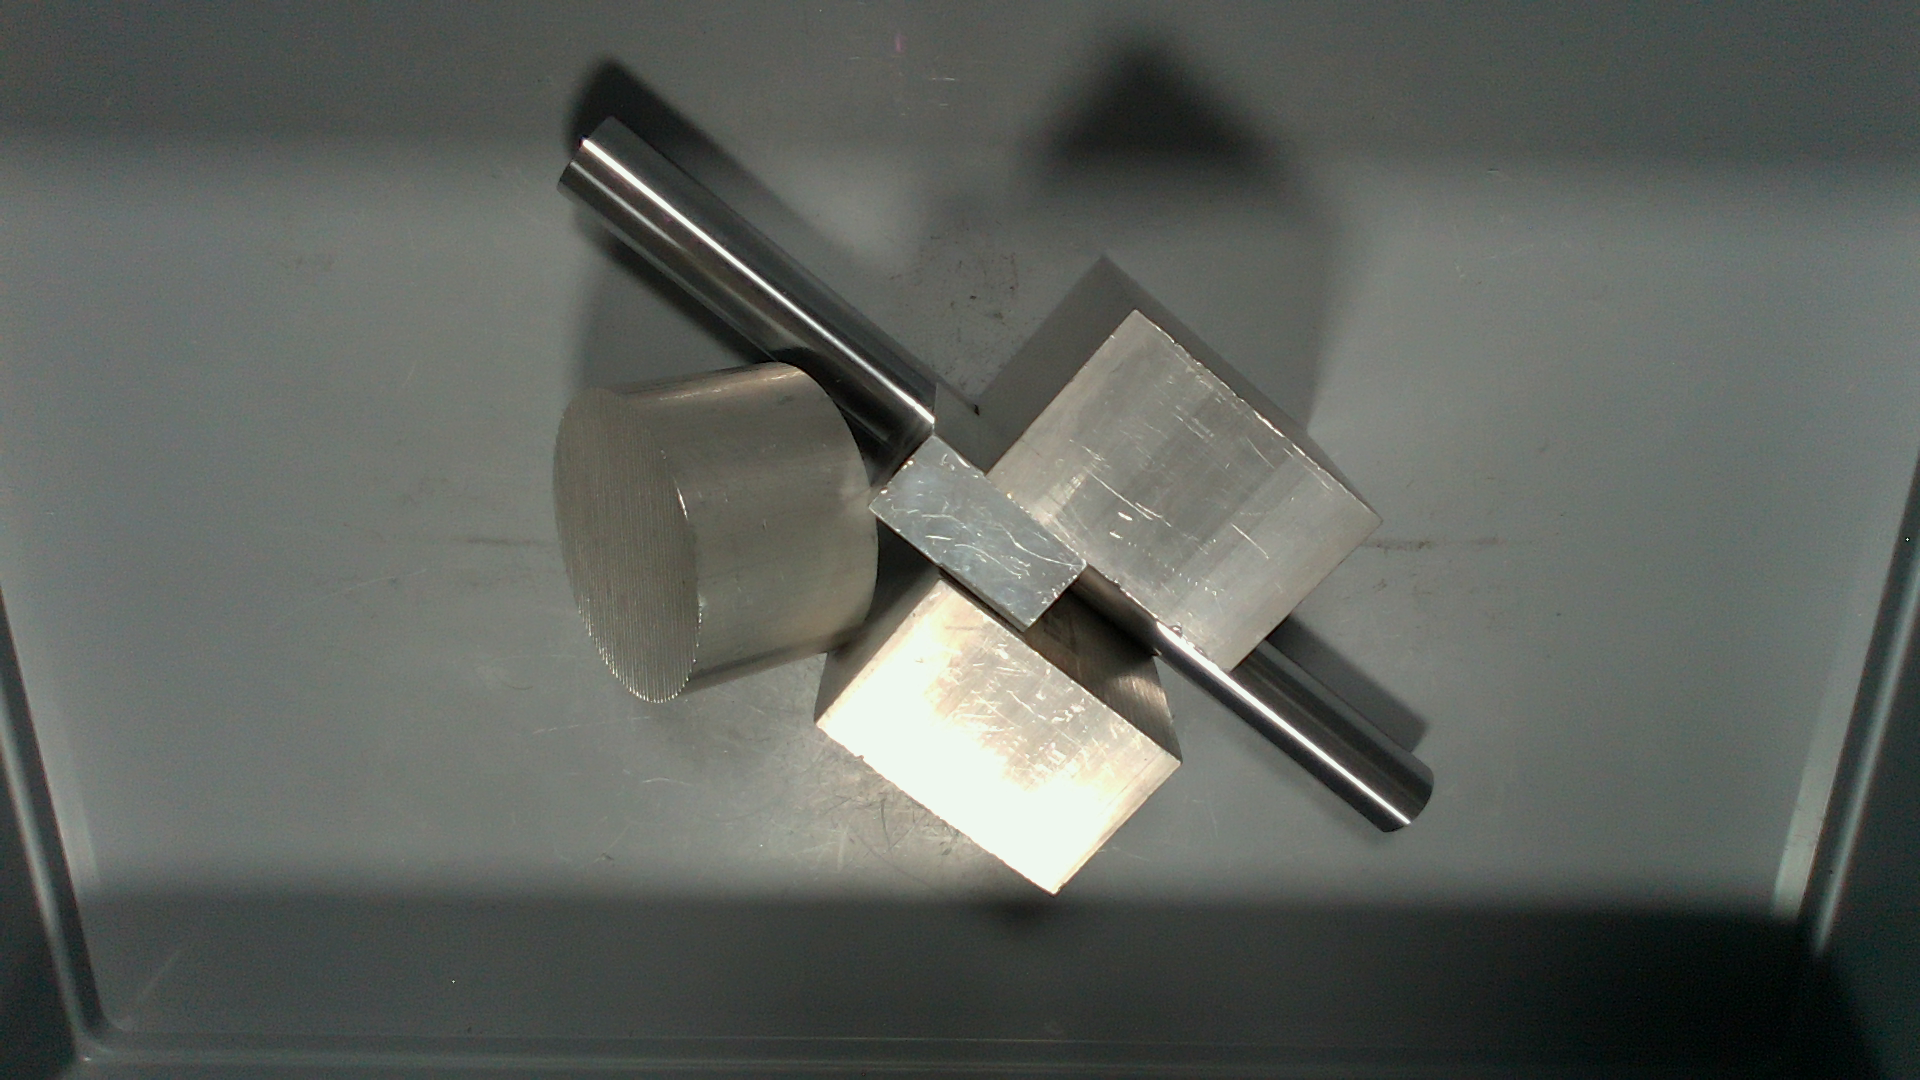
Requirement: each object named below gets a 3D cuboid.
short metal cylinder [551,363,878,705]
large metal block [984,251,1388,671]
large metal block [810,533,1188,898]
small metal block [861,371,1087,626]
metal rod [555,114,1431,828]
[{"bbox_3d":[-0.065,-0.003,0.356,0.050,0.080,0.080,-15,116,-37],"label":"short metal cylinder"},{"bbox_3d":[0.053,-0.024,0.356,0.080,0.080,0.050,38,106,-13],"label":"large metal block"},{"bbox_3d":[0.010,0.037,0.378,0.080,0.080,0.050,37,106,-13],"label":"large metal block"},{"bbox_3d":[0.004,-0.012,0.351,0.050,0.050,0.025,39,106,-13],"label":"small metal block"},{"bbox_3d":[0.019,-0.011,0.390,0.300,0.025,0.025,38,106,-13],"label":"metal rod"}]
